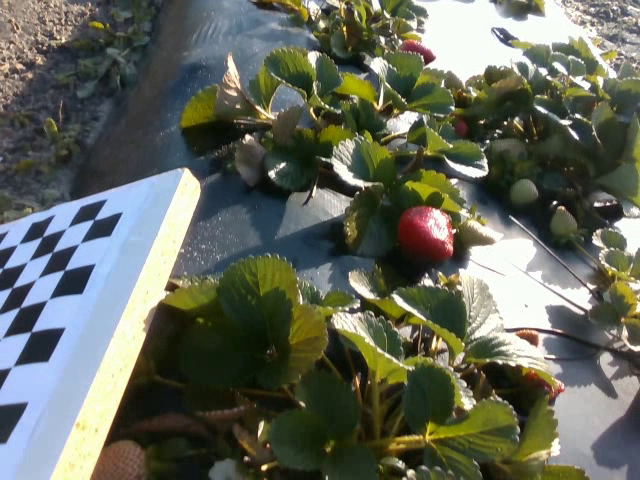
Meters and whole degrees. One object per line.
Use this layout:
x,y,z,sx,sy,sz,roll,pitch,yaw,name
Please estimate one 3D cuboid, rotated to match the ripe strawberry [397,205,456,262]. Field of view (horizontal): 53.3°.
0.087,-0.003,0.495,0.057,0.055,0.072,-32,27,3,ripe strawberry
